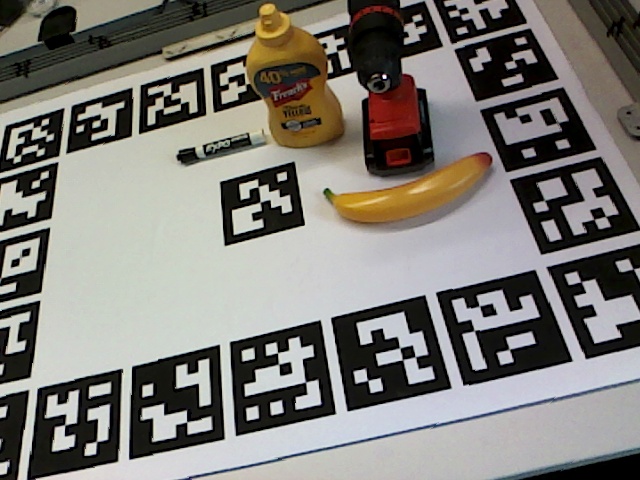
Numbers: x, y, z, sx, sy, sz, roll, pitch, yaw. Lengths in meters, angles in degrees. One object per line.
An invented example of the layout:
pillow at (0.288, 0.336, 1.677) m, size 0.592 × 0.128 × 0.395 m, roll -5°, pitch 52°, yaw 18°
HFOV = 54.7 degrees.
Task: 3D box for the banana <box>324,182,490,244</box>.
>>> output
banana at (0.101, -0.032, 0.727) m, size 0.198 × 0.038 × 0.074 m, roll -8°, pitch 60°, yaw 13°

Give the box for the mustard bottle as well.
mustard bottle at (-0.030, -0.176, 0.756) m, size 0.096 × 0.190 × 0.058 m, roll -4°, pitch 59°, yaw 12°

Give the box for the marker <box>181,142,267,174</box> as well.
marker at (-0.134, -0.112, 0.849) m, size 0.121 × 0.019 × 0.020 m, roll -12°, pitch 58°, yaw 9°

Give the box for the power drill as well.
power drill at (0.077, -0.156, 0.694) m, size 0.057 × 0.186 × 0.185 m, roll -1°, pitch 57°, yaw 13°
